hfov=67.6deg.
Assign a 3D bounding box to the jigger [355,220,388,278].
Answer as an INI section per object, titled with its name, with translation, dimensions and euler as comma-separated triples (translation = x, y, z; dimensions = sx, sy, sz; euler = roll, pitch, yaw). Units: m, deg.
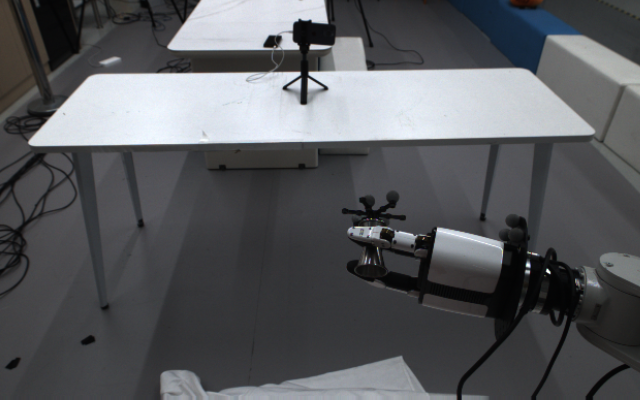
[jigger]
translation = 0.067, 0.062, 0.649
dimensions = 0.043, 0.043, 0.071
euler = 5, 60, 5
